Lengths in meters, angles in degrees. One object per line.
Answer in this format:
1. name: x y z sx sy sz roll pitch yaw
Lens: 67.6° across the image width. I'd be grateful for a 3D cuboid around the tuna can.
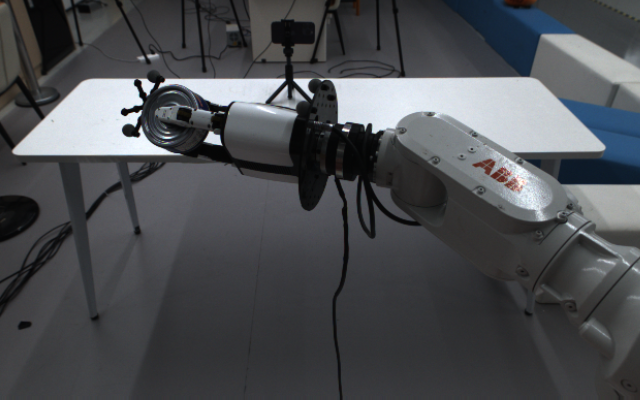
1. tuna can: -0.188 -0.107 0.633 0.085 0.085 0.034 12 -3 14
